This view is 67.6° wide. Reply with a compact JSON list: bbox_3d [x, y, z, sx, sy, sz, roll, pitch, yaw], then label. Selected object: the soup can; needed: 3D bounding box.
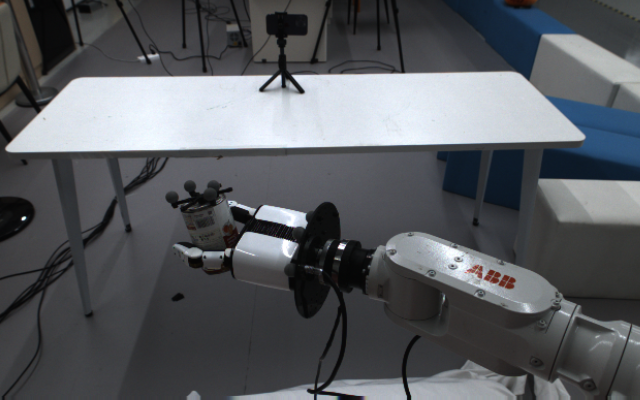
[{"bbox_3d":[-0.152,0.048,0.694,0.067,0.101,0.067,-13,20,5],"label":"soup can"}]
